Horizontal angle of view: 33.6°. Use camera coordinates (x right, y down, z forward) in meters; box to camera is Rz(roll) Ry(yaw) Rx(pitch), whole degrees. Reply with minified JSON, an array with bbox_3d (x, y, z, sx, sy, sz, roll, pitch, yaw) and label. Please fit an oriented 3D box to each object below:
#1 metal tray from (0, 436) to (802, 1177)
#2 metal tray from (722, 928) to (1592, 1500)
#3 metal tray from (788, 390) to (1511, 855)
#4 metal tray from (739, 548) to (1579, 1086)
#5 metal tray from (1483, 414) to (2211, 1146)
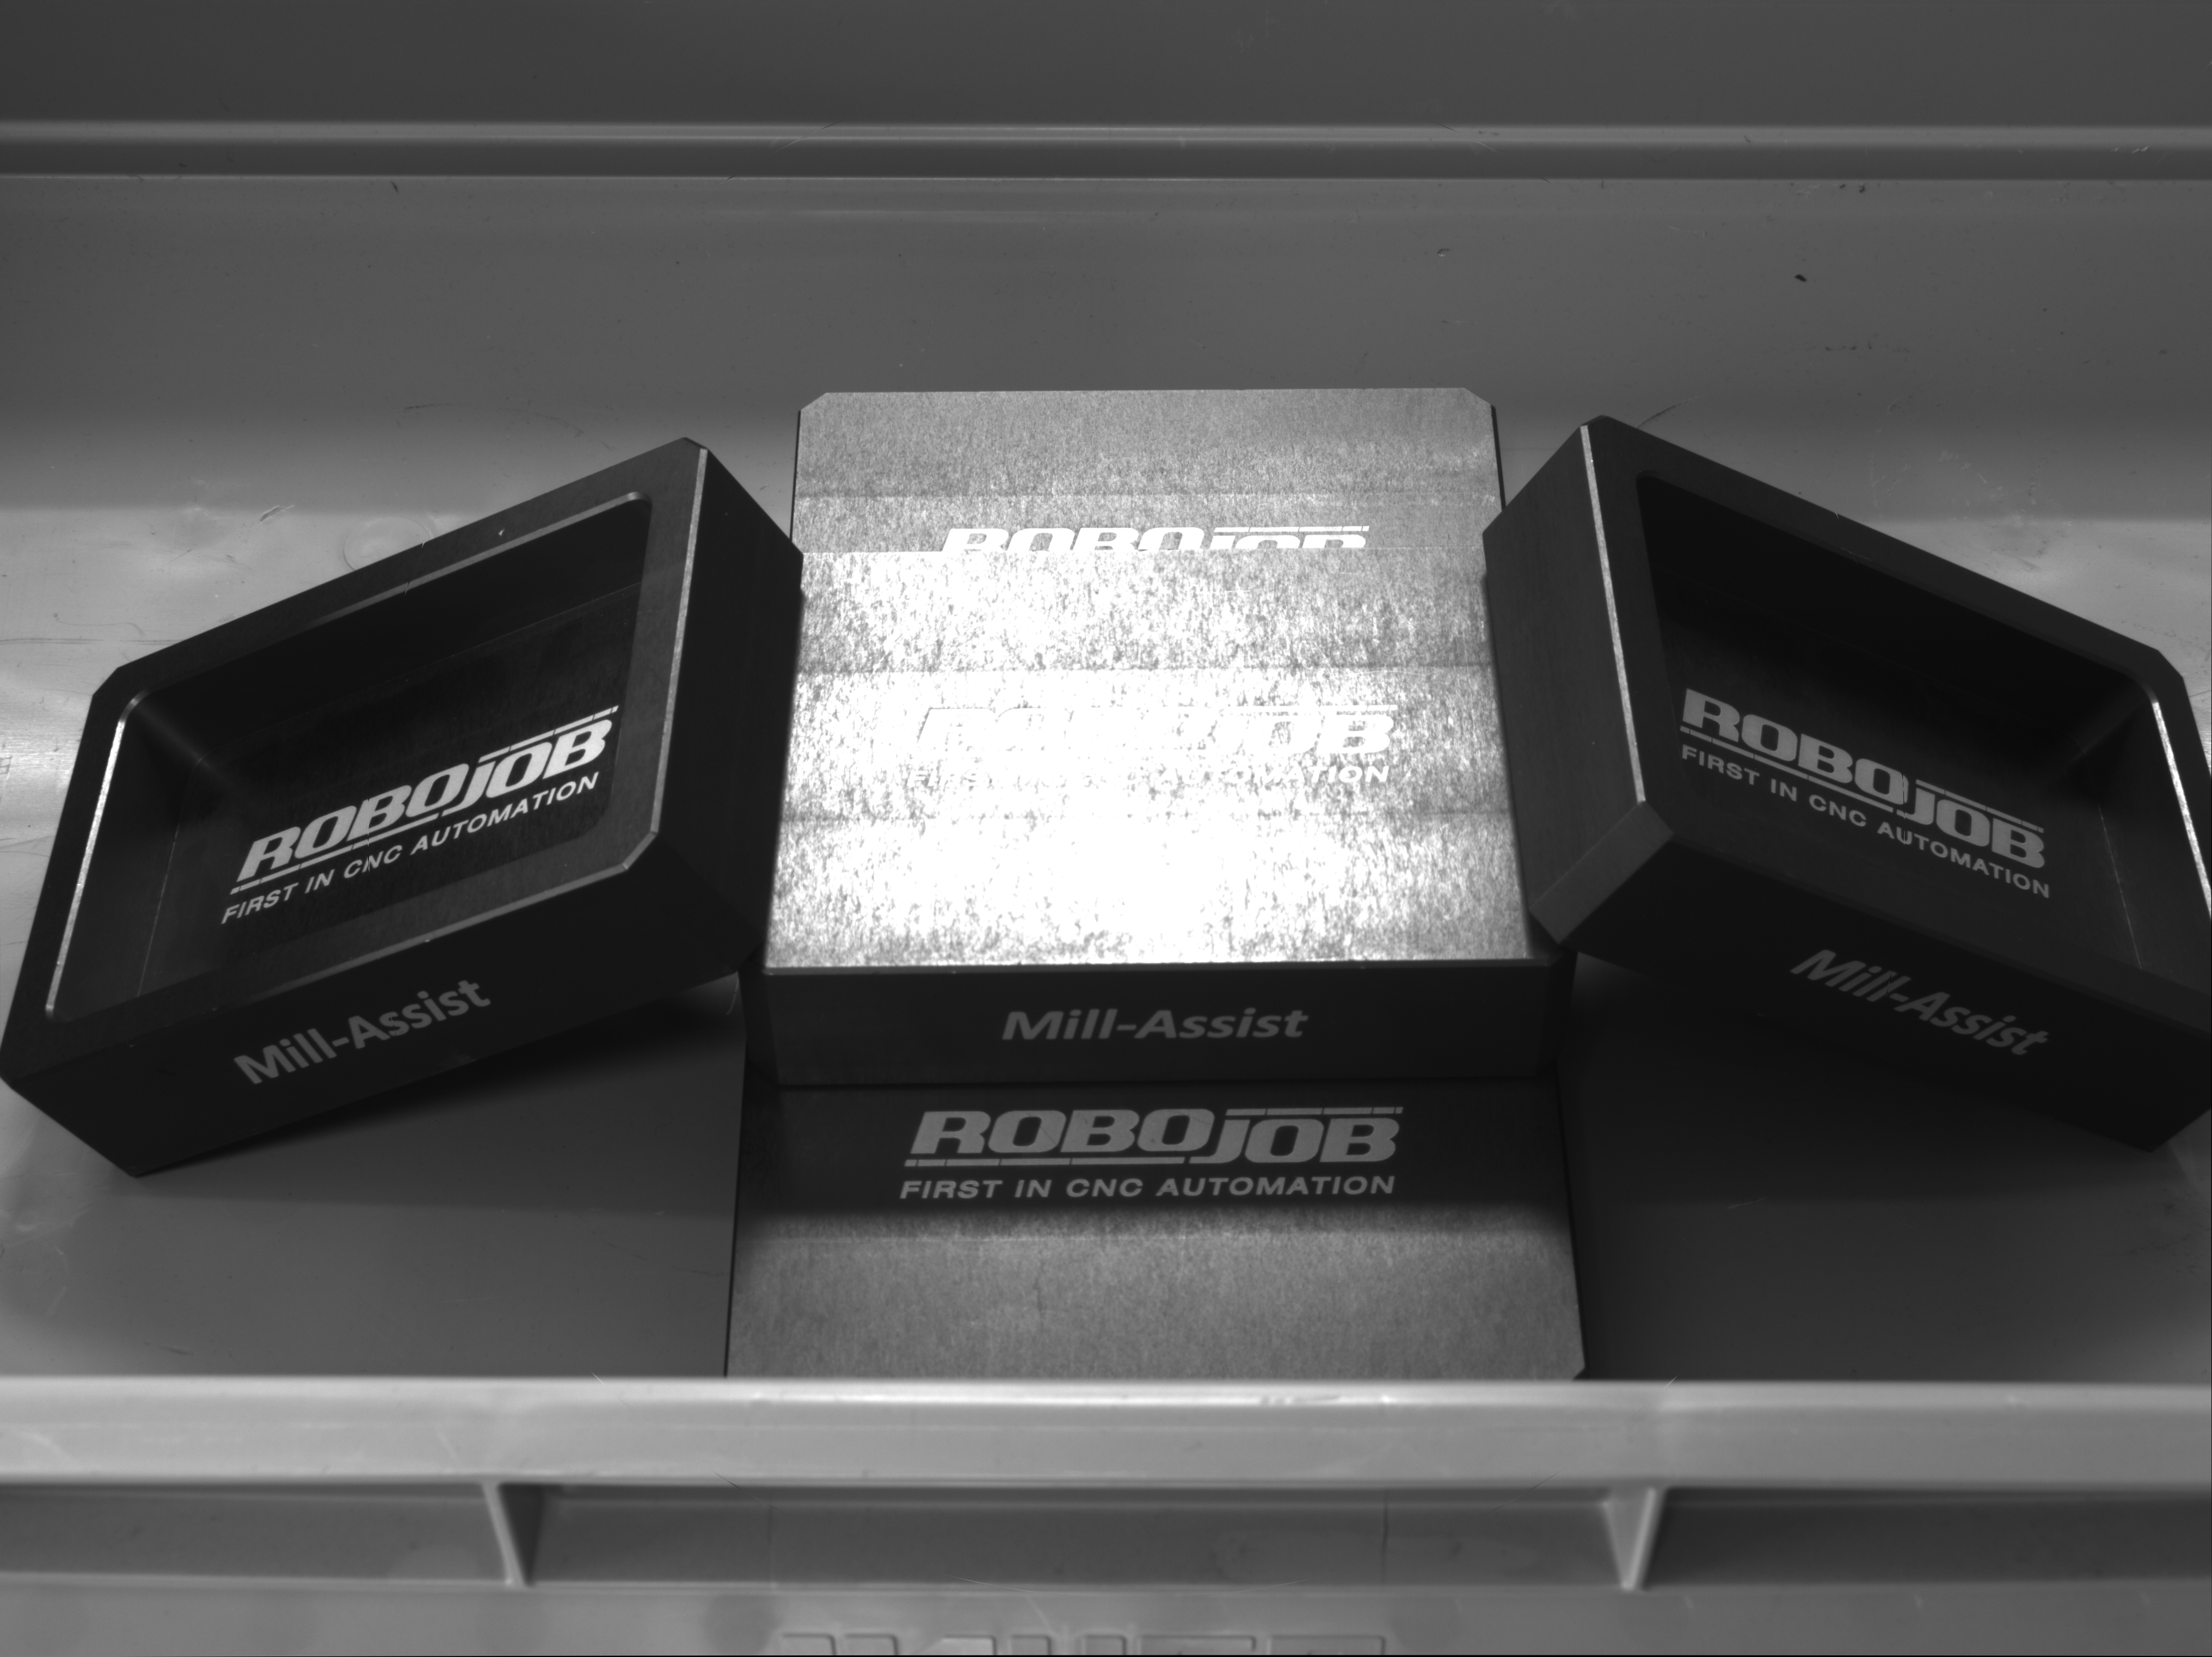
[{"bbox_3d":[-0.115,-0.003,0.600,0.130,0.030,0.090,-19,47,23],"label":"metal tray"},{"bbox_3d":[0.008,0.060,0.585,0.130,0.030,0.090,0,50,-1],"label":"metal tray"},{"bbox_3d":[0.008,-0.039,0.668,0.130,0.030,0.090,0,50,-1],"label":"metal tray"},{"bbox_3d":[0.008,-0.003,0.601,0.130,0.030,0.090,-1,50,-1],"label":"metal tray"},{"bbox_3d":[0.128,-0.008,0.602,0.130,0.030,0.090,19,46,-23],"label":"metal tray"}]
